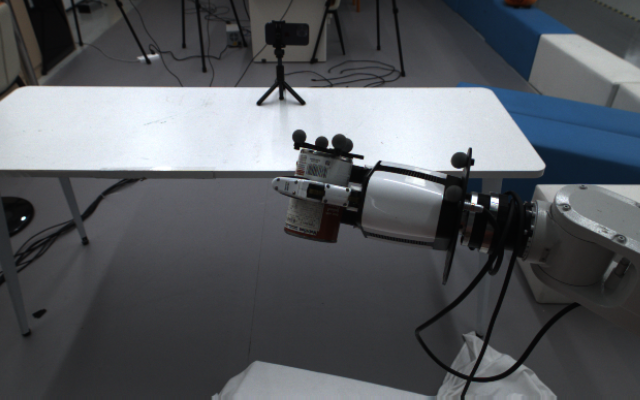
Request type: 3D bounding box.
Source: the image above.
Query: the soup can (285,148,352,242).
[{"bbox_3d":[-0.001,-0.005,0.587,0.067,0.101,0.067,11,2,0],"label":"soup can"}]
